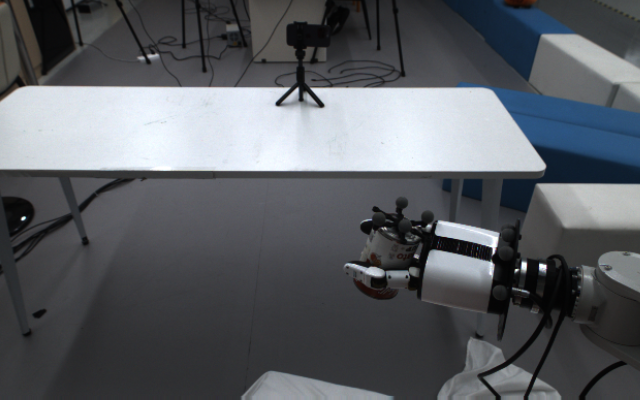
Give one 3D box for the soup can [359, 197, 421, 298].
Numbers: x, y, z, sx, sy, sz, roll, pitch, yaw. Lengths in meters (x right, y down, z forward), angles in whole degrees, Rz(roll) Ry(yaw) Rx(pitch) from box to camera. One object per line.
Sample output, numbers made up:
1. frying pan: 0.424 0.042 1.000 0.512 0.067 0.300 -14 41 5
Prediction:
1. soup can: 0.093 0.077 0.665 0.067 0.101 0.067 13 31 -8
